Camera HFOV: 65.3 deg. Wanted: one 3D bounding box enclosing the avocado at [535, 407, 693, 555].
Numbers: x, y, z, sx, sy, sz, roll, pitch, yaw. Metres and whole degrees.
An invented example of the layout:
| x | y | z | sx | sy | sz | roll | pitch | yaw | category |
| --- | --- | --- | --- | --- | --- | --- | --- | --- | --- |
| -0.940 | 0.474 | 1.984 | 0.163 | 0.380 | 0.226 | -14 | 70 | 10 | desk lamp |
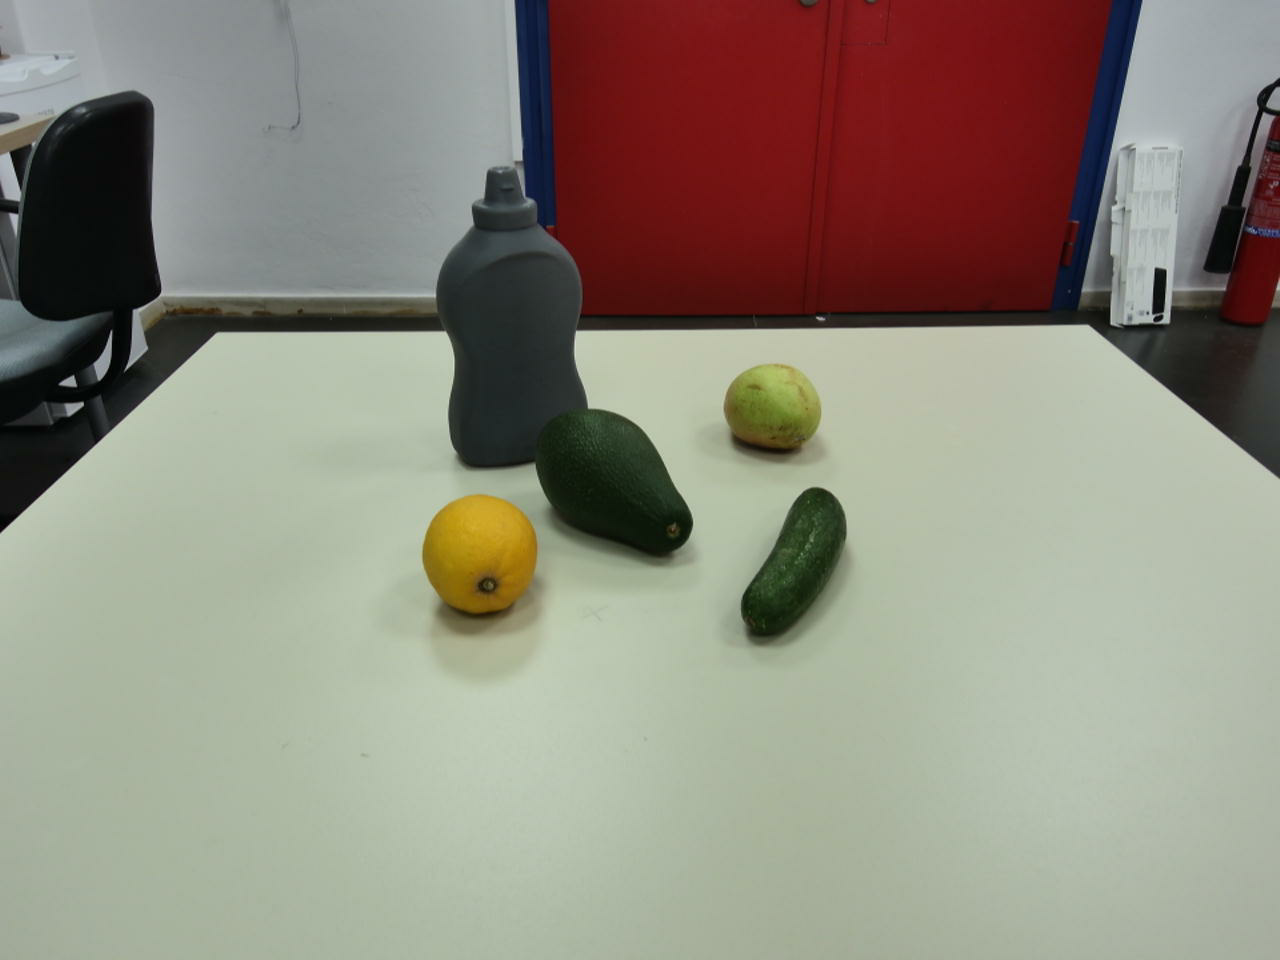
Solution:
| x | y | z | sx | sy | sz | roll | pitch | yaw | category |
| --- | --- | --- | --- | --- | --- | --- | --- | --- | --- |
| -0.019 | -0.001 | 0.586 | 0.072 | 0.071 | 0.109 | -12 | 28 | -21 | avocado |
